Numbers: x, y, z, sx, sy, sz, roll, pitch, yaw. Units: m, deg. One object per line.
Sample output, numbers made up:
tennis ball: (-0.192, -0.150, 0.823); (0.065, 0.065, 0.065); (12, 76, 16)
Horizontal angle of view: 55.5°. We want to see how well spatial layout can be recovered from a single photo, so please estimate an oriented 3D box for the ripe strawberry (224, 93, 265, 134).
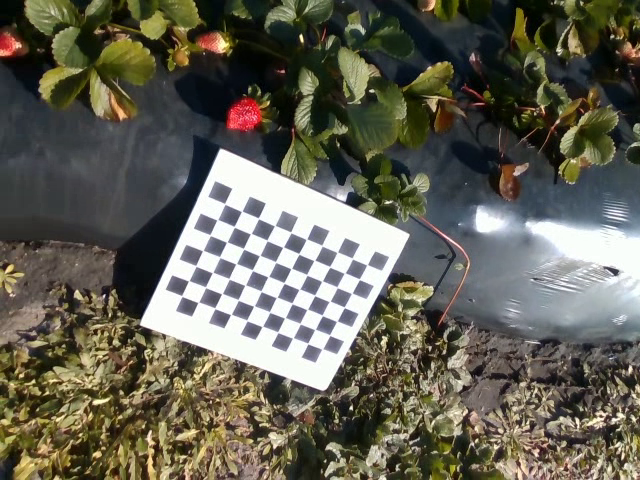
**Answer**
ripe strawberry: (-0.102, -0.168, 0.765); (0.058, 0.066, 0.061); (-13, 20, 22)
